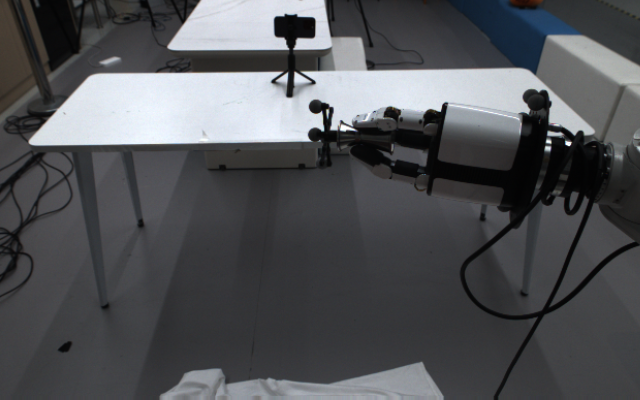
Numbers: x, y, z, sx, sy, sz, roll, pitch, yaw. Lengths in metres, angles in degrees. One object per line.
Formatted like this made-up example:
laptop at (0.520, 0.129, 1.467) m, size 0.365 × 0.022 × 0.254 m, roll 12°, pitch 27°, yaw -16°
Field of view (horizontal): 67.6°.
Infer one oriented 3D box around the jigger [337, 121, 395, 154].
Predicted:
jigger at (0.065, -0.084, 0.612) m, size 0.071 × 0.043 × 0.043 m, roll 2°, pitch 34°, yaw 13°
